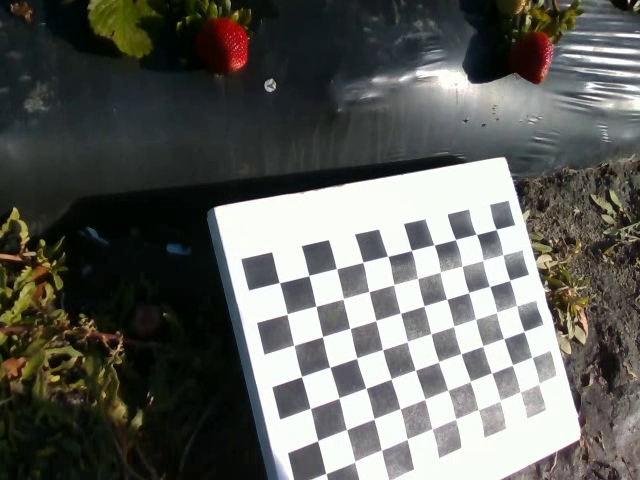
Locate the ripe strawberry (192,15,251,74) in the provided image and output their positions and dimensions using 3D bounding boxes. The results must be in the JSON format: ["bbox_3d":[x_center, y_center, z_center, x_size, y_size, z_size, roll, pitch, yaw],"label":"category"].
[{"bbox_3d":[-0.070,-0.140,0.356,0.045,0.055,0.042,-3,-39,-27],"label":"ripe strawberry"}]

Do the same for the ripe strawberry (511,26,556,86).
[{"bbox_3d":[0.185,-0.157,0.430,0.042,0.059,0.042,13,-25,-24],"label":"ripe strawberry"}]
